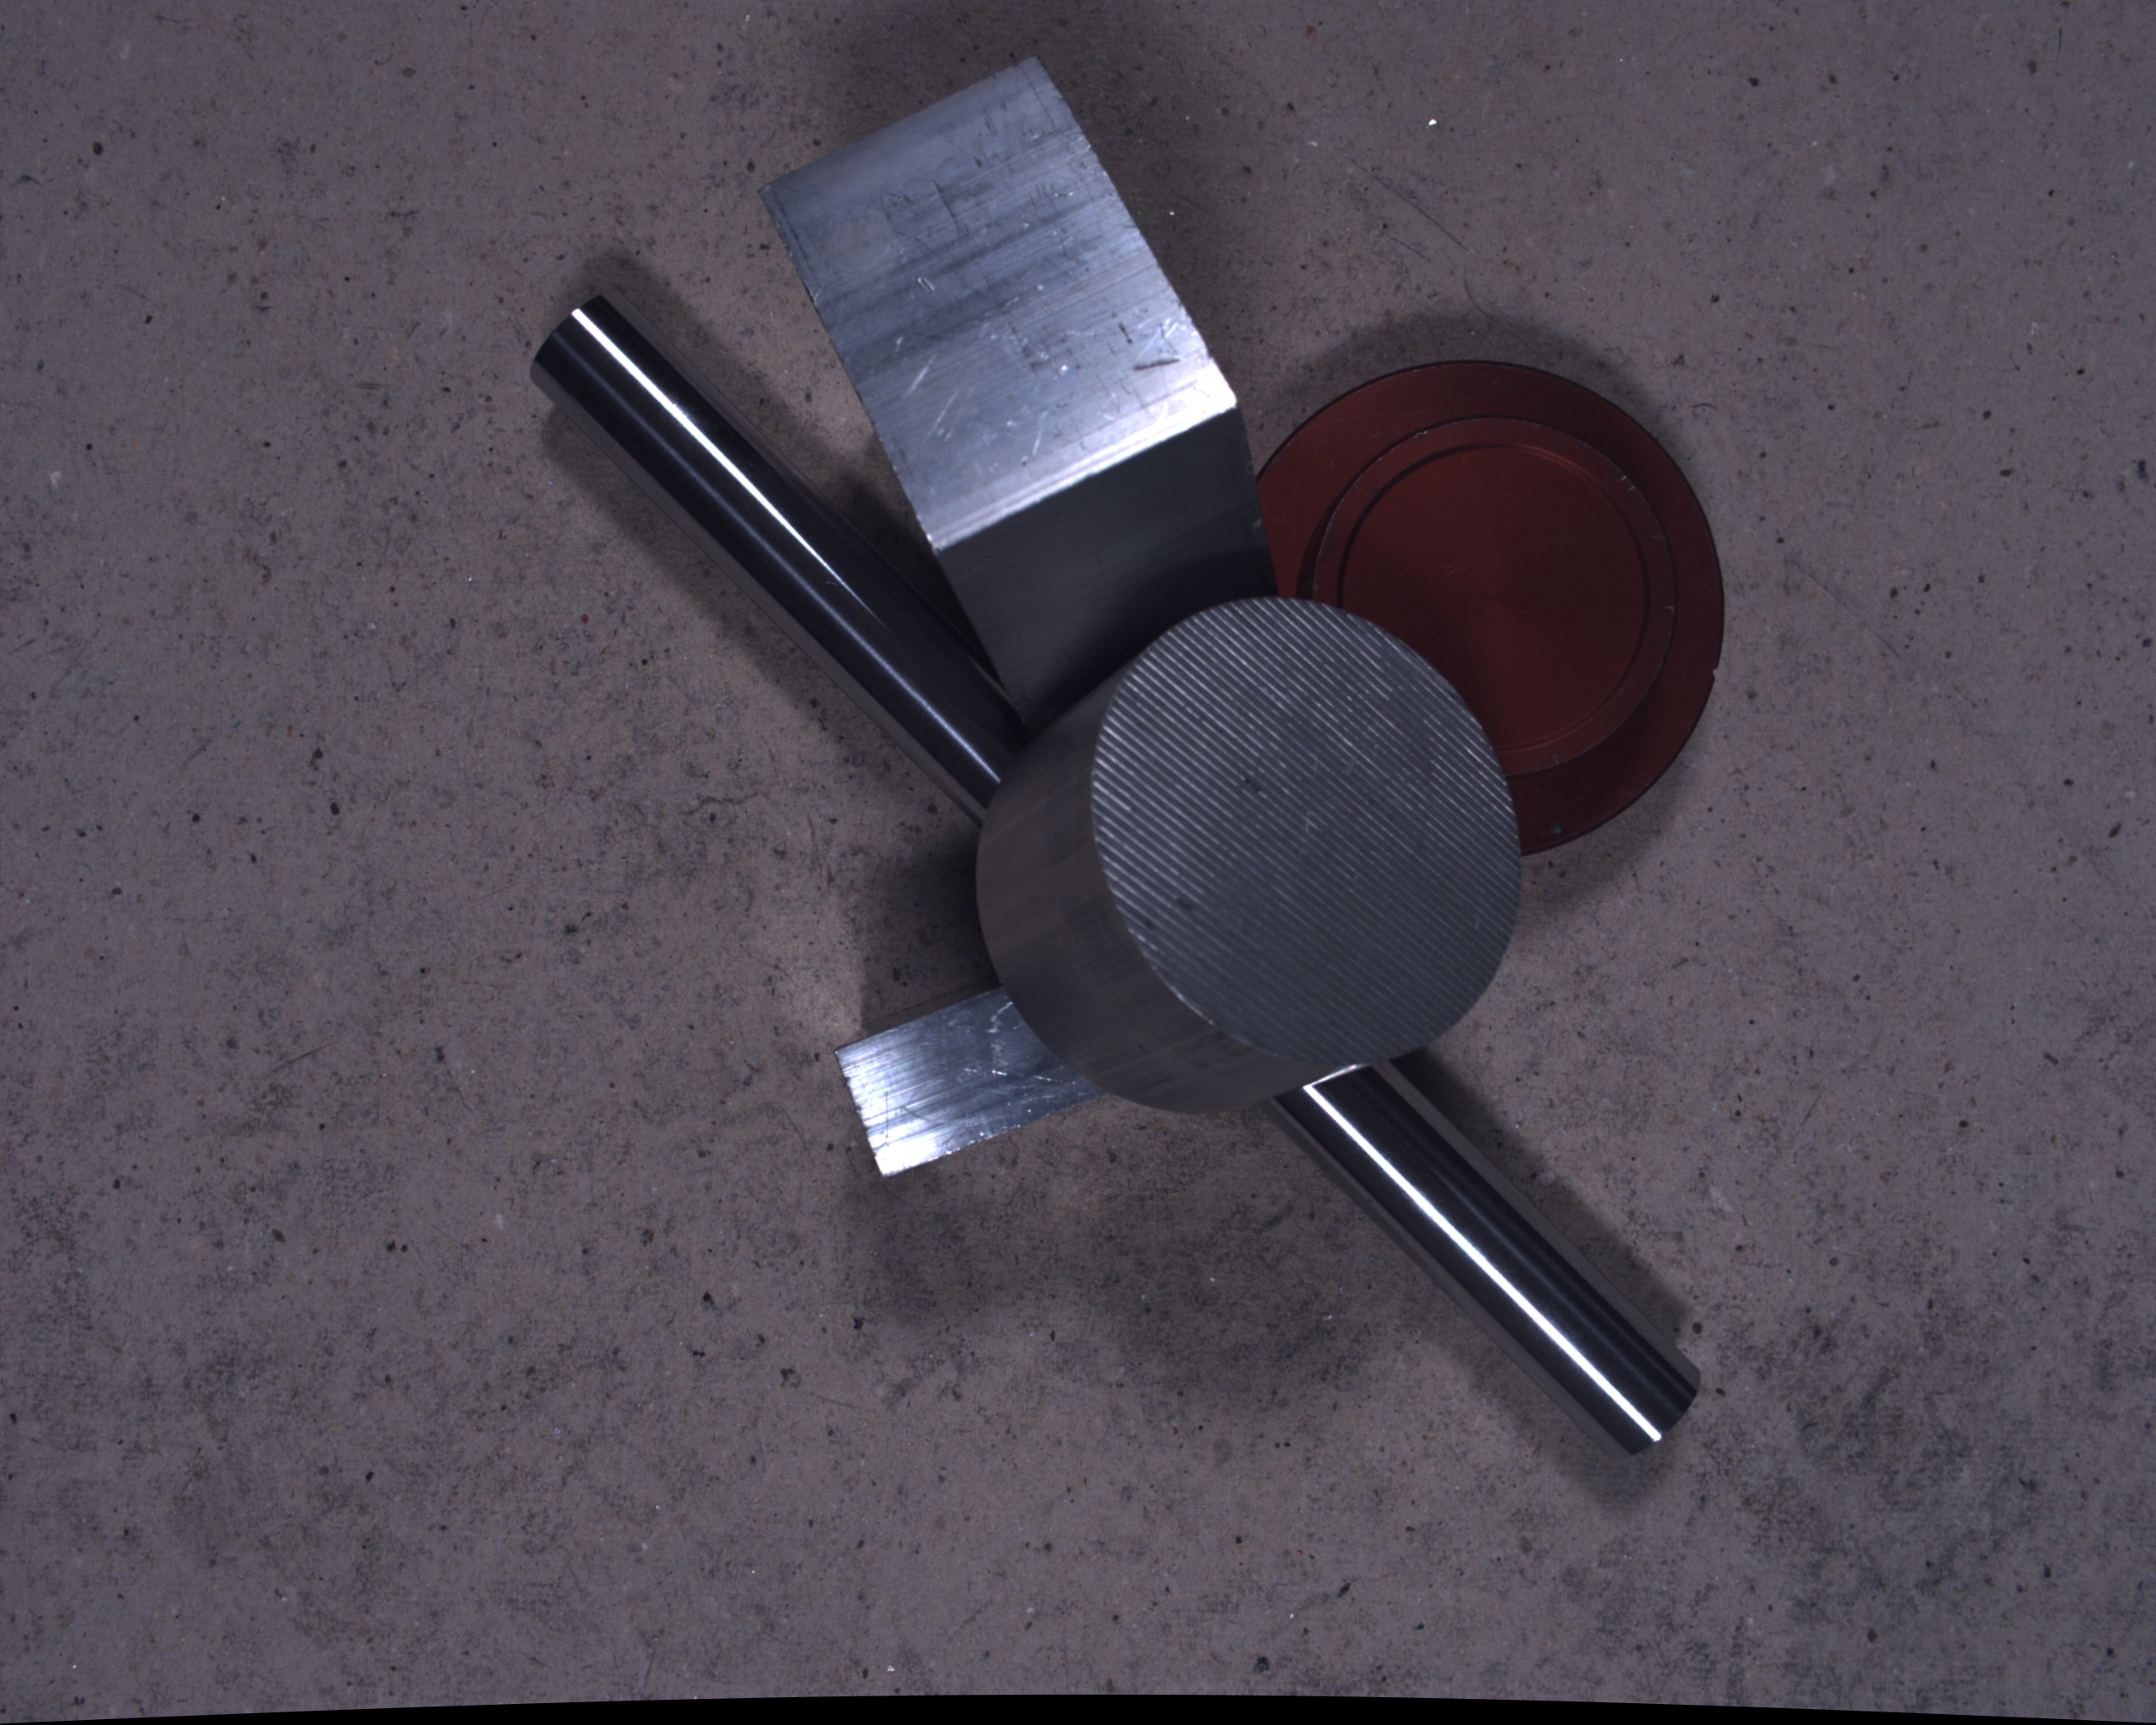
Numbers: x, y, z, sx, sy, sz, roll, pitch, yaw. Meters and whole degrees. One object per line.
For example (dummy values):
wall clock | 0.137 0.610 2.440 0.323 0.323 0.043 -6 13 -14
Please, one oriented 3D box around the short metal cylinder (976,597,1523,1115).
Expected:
short metal cylinder | 0.029 0.000 0.362 0.081 0.050 0.080 7 72 -22

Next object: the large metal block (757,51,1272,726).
large metal block | -0.008 -0.079 0.373 0.050 0.080 0.080 -26 68 1

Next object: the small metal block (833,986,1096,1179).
small metal block | -0.016 0.036 0.399 0.050 0.050 0.025 -21 90 -1

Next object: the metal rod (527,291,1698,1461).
metal rod | 0.007 0.003 0.412 0.025 0.025 0.300 -45 91 0

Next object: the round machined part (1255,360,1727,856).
round machined part | 0.077 -0.049 0.403 0.099 0.042 0.097 0 90 -1
